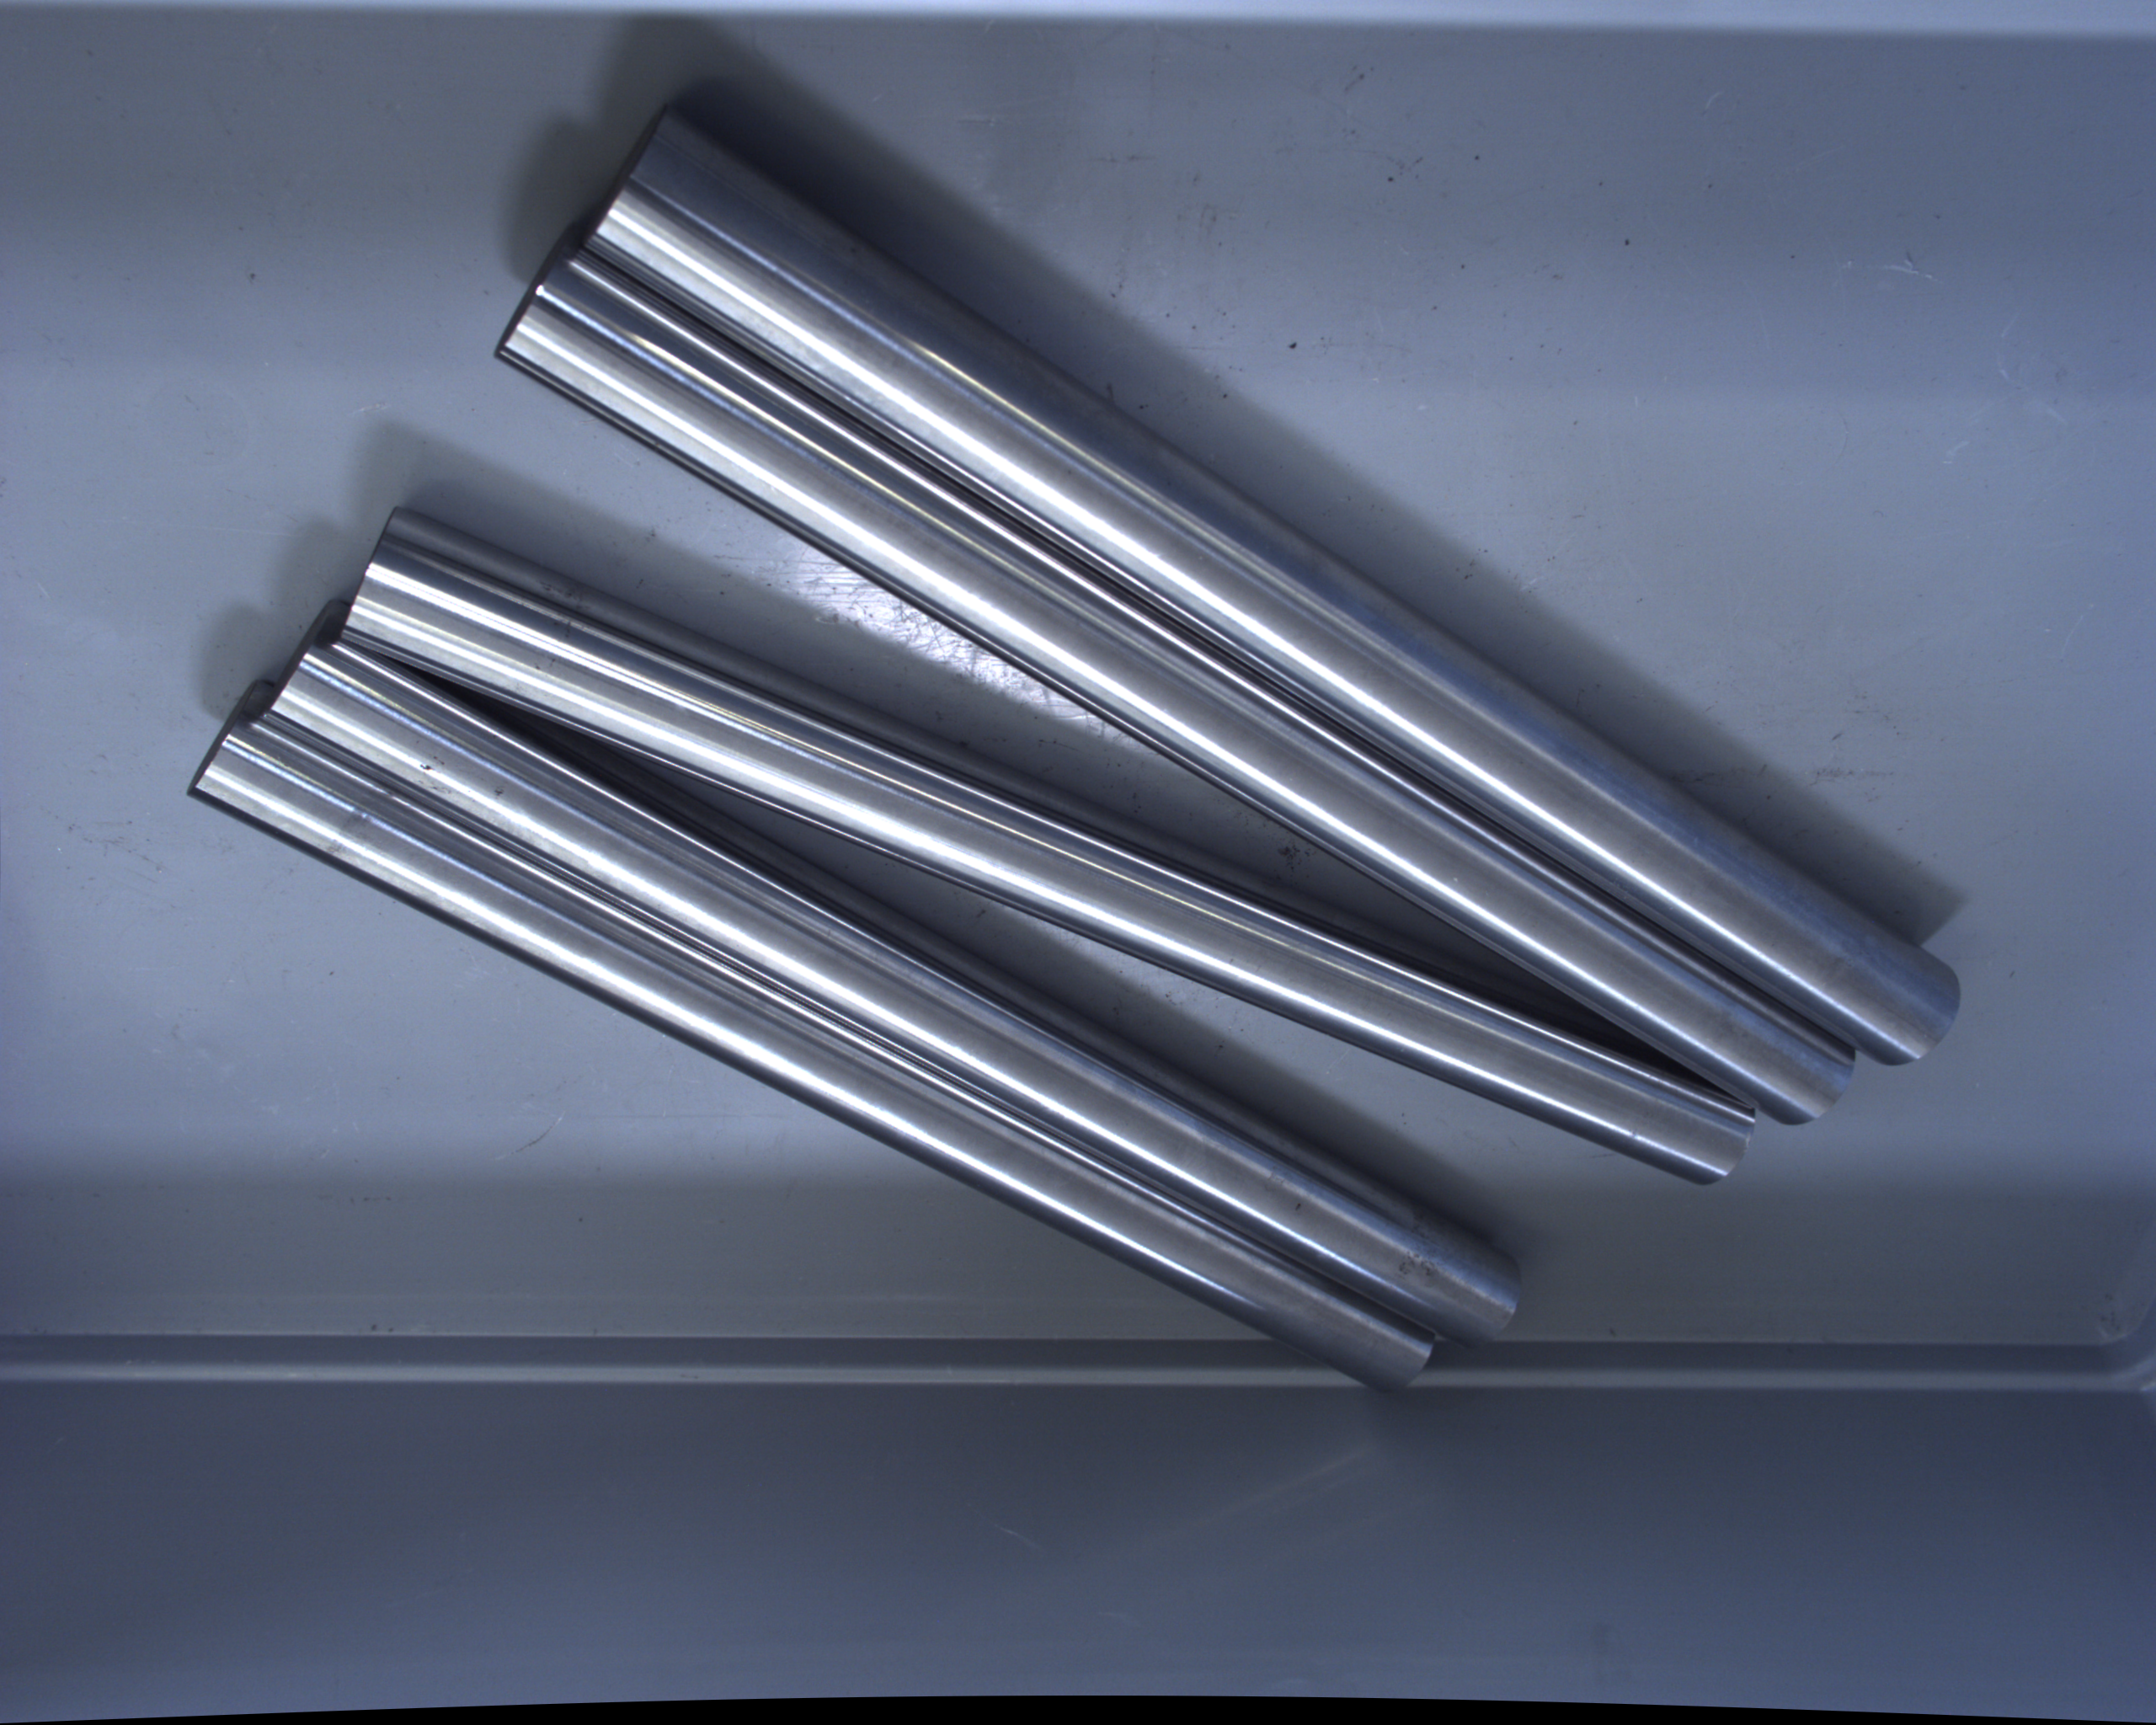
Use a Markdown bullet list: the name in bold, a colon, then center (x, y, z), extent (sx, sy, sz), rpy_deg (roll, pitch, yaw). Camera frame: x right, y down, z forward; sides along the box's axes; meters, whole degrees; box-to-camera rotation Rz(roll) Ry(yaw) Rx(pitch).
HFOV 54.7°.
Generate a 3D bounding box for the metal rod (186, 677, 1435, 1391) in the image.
- **metal rod**: center (-0.040, 0.047, 0.447), extent (0.301, 0.025, 0.025), rpy_deg (31, 124, -24)

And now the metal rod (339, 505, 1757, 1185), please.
- **metal rod**: center (0.008, 0.004, 0.411), extent (0.302, 0.025, 0.025), rpy_deg (23, 127, -19)

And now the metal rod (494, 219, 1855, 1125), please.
- **metal rod**: center (0.035, -0.023, 0.388), extent (0.301, 0.025, 0.025), rpy_deg (29, 124, -23)

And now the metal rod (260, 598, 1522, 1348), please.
- **metal rod**: center (-0.022, 0.033, 0.436), extent (0.301, 0.025, 0.025), rpy_deg (31, 124, -24)

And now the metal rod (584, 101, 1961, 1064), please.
- **metal rod**: center (0.052, -0.037, 0.376), extent (0.301, 0.025, 0.025), rpy_deg (29, 124, -23)
